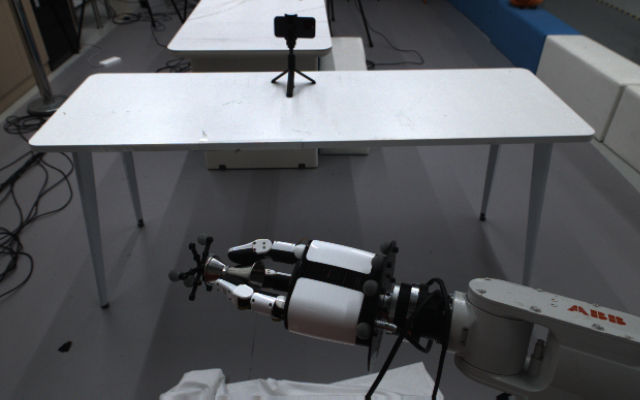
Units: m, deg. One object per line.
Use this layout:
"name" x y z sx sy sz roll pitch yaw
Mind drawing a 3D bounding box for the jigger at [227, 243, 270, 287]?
"jigger" -0.103 0.090 0.635 0.071 0.043 0.043 5 34 20
